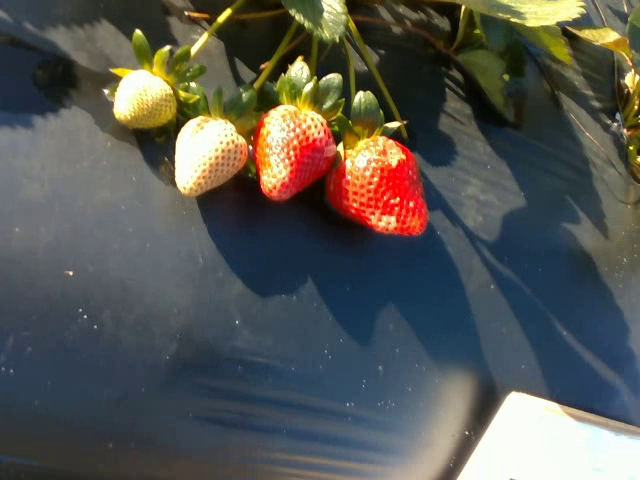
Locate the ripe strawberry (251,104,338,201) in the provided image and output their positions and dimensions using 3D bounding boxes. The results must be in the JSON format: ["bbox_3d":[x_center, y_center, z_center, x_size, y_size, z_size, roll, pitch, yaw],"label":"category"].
[{"bbox_3d":[-0.014,-0.039,0.260,0.043,0.061,0.051,-18,-52,38],"label":"ripe strawberry"}]

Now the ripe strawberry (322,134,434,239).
[{"bbox_3d":[0.035,-0.023,0.277,0.056,0.067,0.052,-30,-28,-7],"label":"ripe strawberry"}]
